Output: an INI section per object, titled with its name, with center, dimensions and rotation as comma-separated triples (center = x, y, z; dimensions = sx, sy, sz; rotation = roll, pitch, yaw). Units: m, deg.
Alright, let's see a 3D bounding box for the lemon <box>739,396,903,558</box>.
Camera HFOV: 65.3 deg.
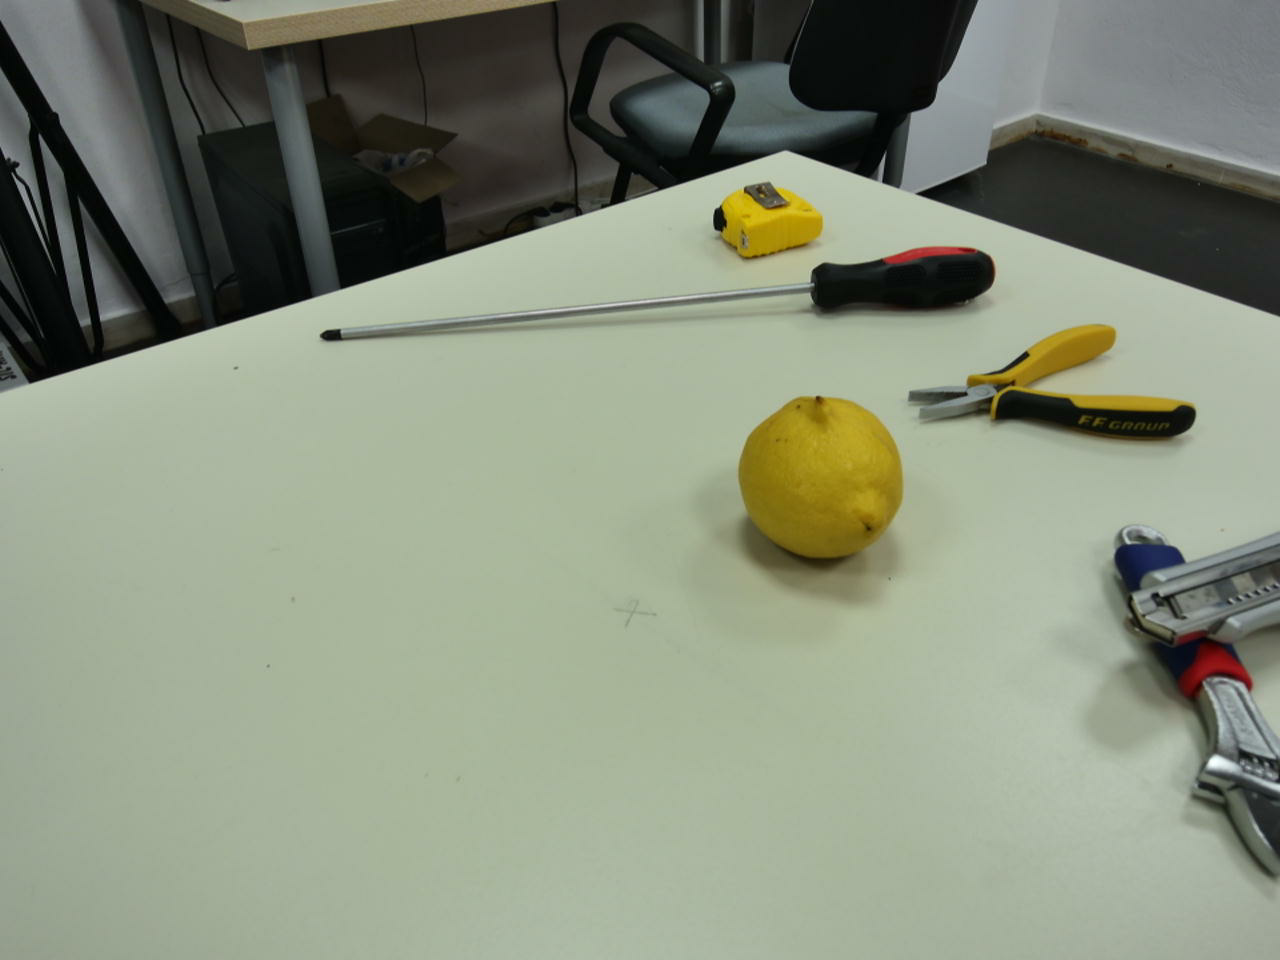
[lemon]
center = 0.077, -0.004, 0.426
dimensions = 0.070, 0.071, 0.071
rotation = 11, 36, 15
